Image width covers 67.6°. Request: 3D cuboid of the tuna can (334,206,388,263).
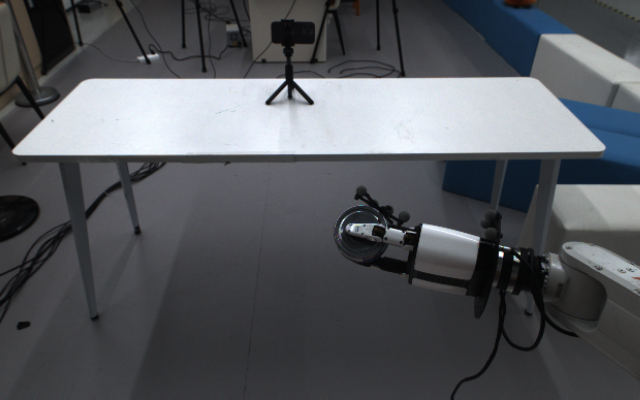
[{"bbox_3d":[0.068,0.058,0.743,0.085,0.034,0.085,-4,69,10],"label":"tuna can"}]
